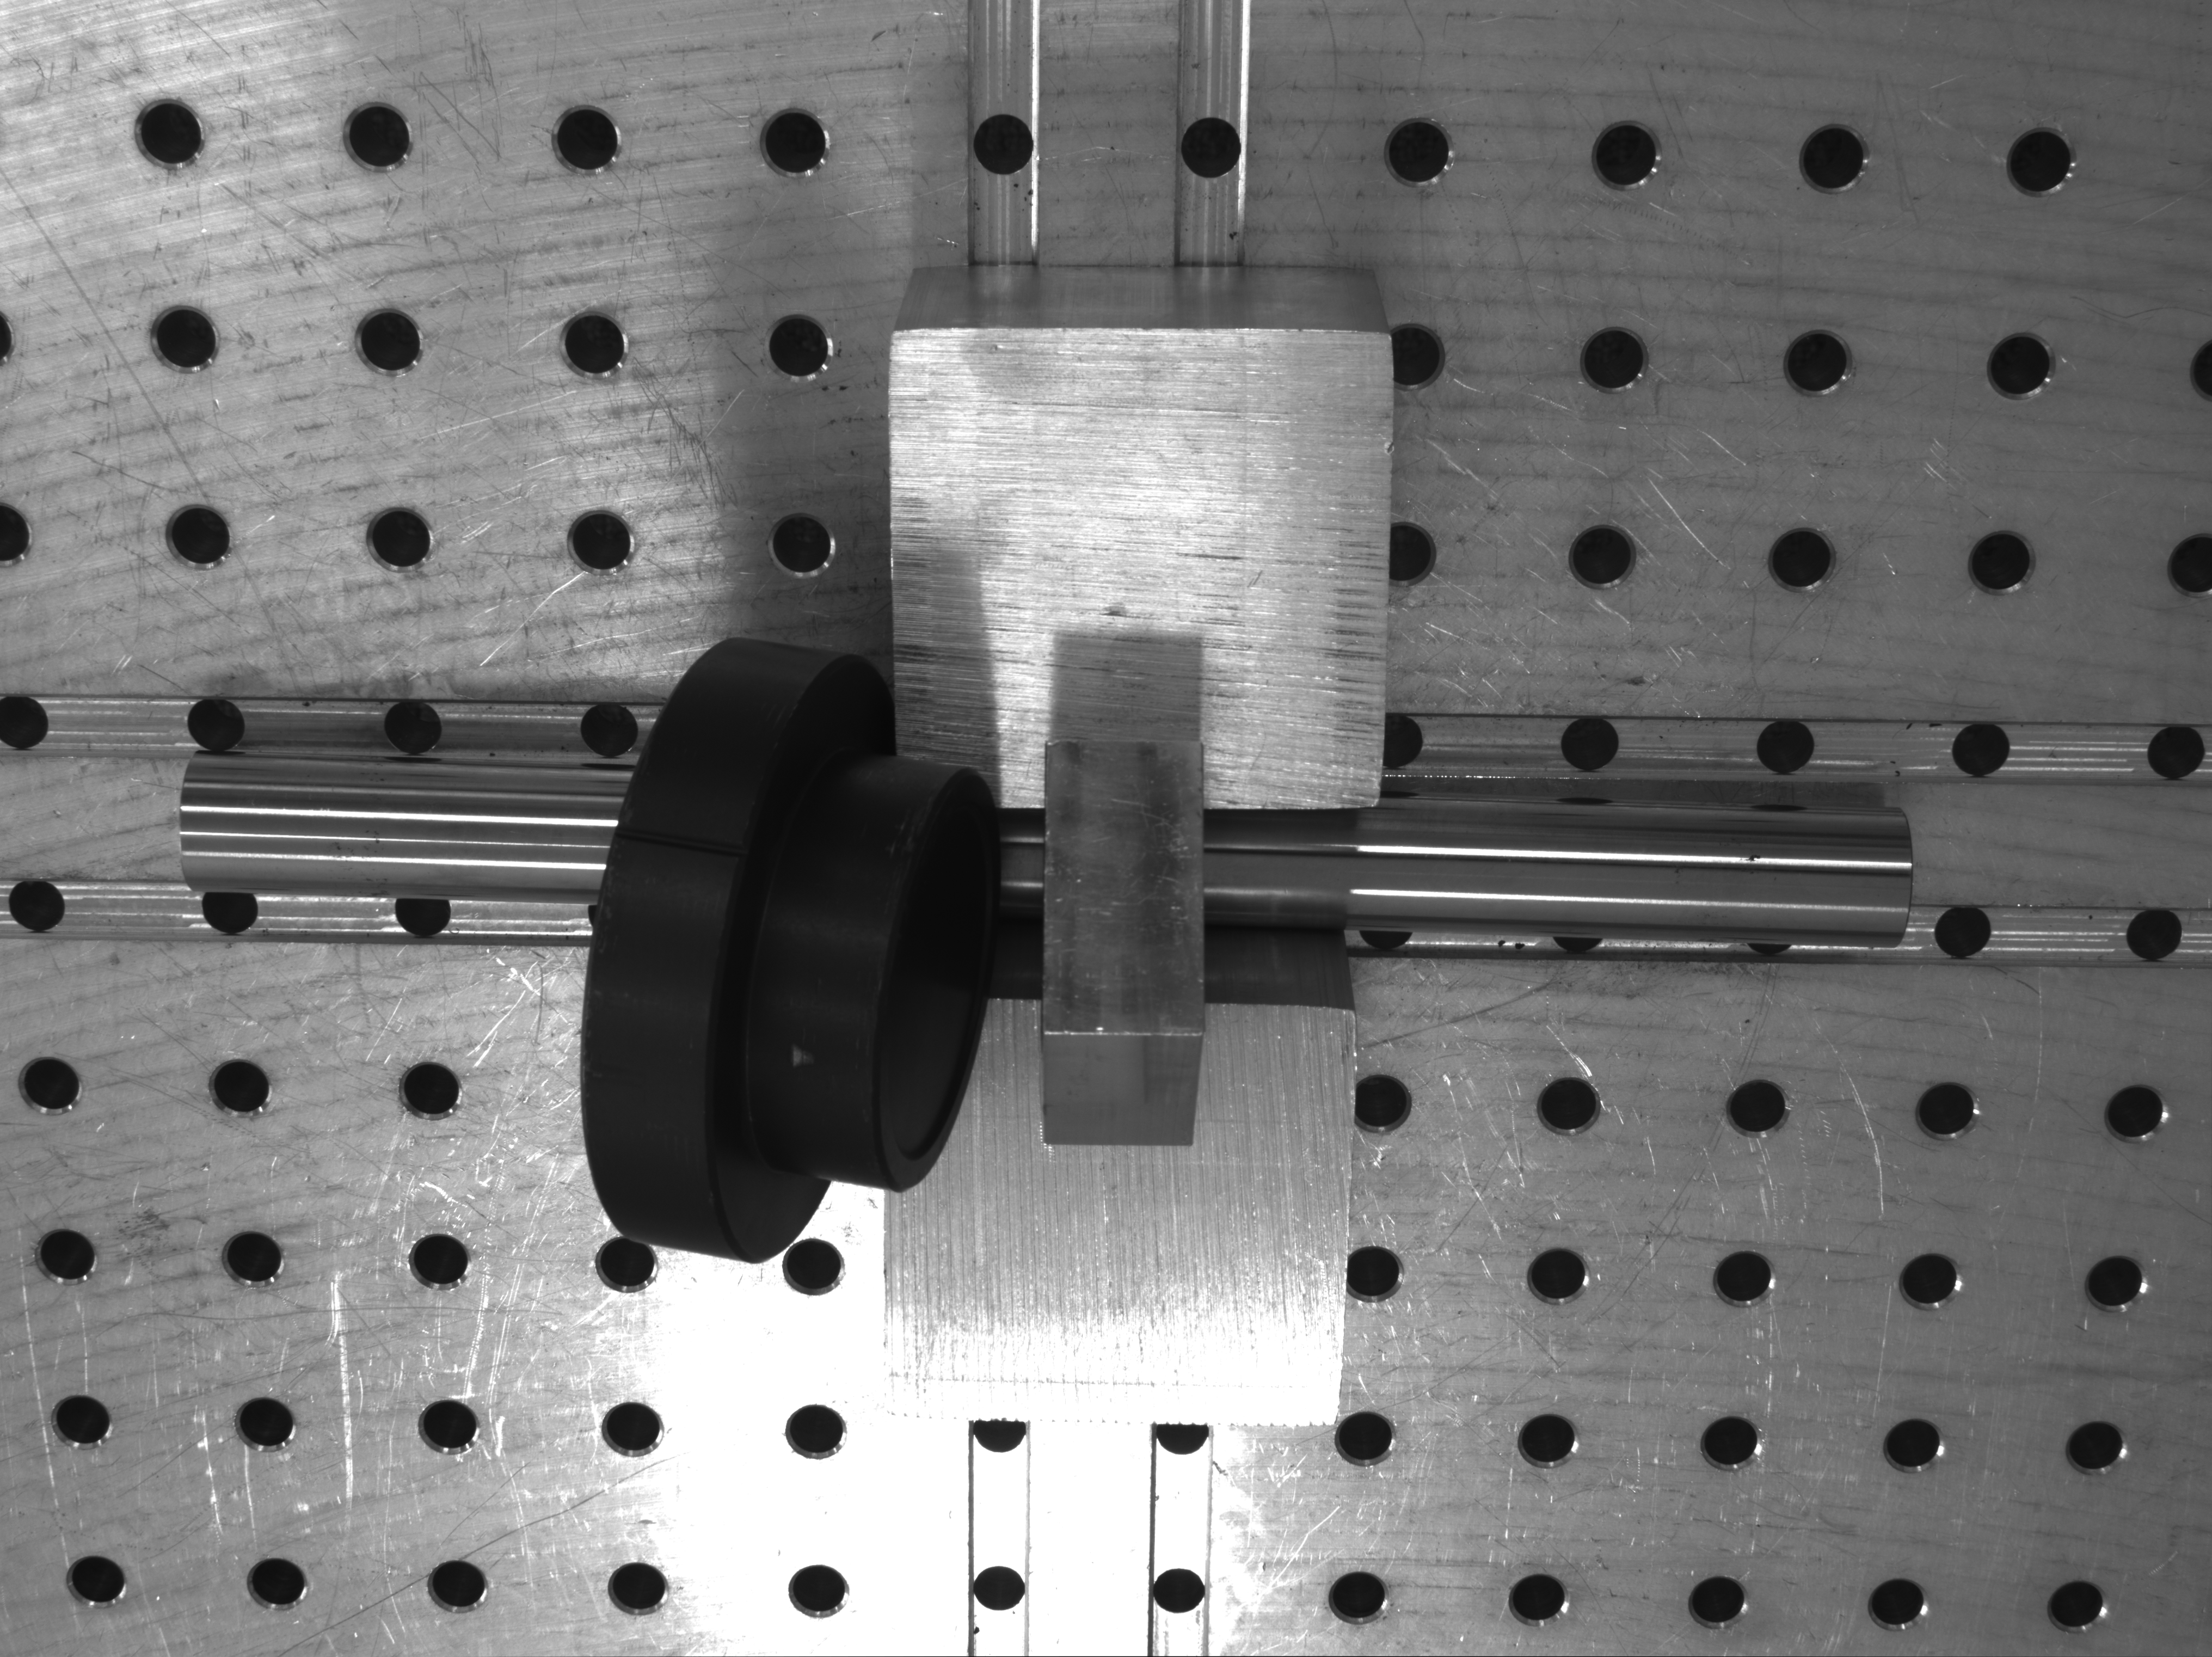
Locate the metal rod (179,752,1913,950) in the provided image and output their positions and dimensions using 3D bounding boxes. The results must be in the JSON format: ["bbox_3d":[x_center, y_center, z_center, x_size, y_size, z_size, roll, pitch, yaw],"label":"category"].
[{"bbox_3d":[-0.010,0.004,0.648,0.300,0.025,0.025,2,110,-1],"label":"metal rod"}]

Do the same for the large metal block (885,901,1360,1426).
[{"bbox_3d":[0.002,0.058,0.655,0.080,0.050,0.080,1,110,0],"label":"large metal block"}]

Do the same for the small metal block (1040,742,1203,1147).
[{"bbox_3d":[0.003,0.019,0.594,0.025,0.050,0.050,1,66,0],"label":"small metal block"}]

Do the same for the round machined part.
[{"bbox_3d":[-0.046,0.021,0.585,0.042,0.098,0.098,9,110,12],"label":"round machined part"}]

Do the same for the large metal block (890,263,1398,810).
[{"bbox_3d":[0.006,-0.050,0.615,0.080,0.050,0.080,1,110,0],"label":"large metal block"}]
